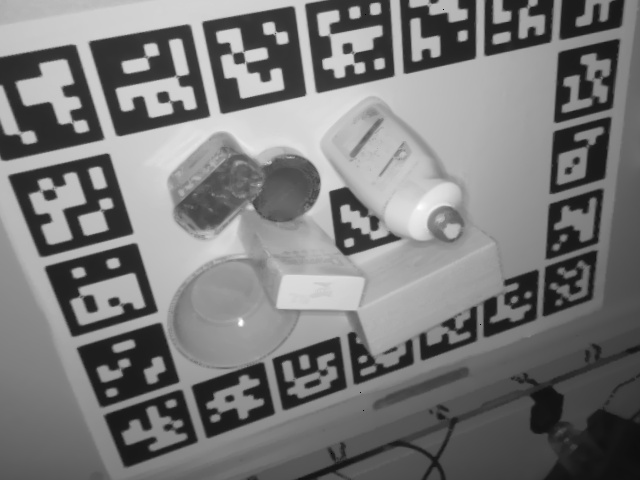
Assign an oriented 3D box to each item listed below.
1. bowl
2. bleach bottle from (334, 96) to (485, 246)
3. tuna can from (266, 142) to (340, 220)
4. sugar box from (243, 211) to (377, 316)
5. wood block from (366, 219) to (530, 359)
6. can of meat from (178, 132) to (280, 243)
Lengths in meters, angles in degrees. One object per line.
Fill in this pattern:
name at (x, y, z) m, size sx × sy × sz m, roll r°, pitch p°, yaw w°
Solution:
bowl at (-0.099, 0.085, 0.834) m, size 0.163 × 0.055 × 0.160 m, roll -11°, pitch 119°, yaw -20°
bleach bottle at (0.101, -0.068, 0.719) m, size 0.102 × 0.250 × 0.068 m, roll -37°, pitch 124°, yaw 1°
tuna can at (-0.023, -0.068, 0.795) m, size 0.087 × 0.033 × 0.085 m, roll -8°, pitch 115°, yaw -17°
sugar box at (-0.015, 0.022, 0.760) m, size 0.094 × 0.176 × 0.045 m, roll 3°, pitch 113°, yaw -26°
wood block at (0.156, 0.063, 0.906) m, size 0.207 × 0.089 × 0.090 m, roll -23°, pitch 117°, yaw -8°
can of meat at (-0.101, -0.060, 0.747) m, size 0.101 × 0.083 × 0.058 m, roll -41°, pitch 126°, yaw 4°
